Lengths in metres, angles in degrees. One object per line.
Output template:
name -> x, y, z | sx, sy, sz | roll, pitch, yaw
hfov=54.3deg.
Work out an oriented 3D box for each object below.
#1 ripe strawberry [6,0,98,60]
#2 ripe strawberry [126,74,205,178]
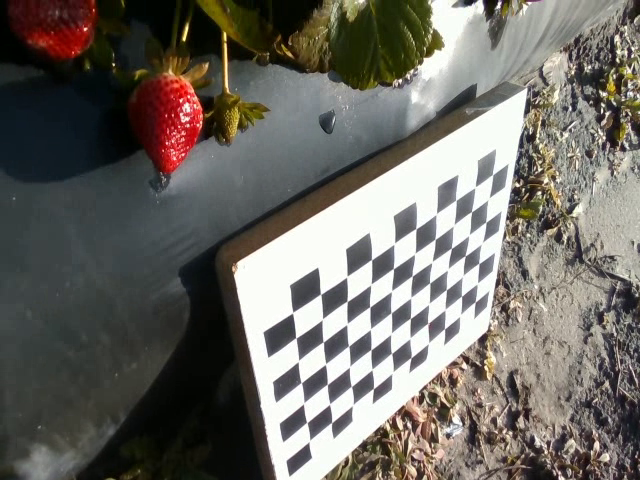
ripe strawberry -> -0.122, -0.102, 0.277 | 0.039, 0.048, 0.054 | 16, 25, 18
ripe strawberry -> -0.074, -0.057, 0.302 | 0.038, 0.053, 0.043 | -20, -25, 31
